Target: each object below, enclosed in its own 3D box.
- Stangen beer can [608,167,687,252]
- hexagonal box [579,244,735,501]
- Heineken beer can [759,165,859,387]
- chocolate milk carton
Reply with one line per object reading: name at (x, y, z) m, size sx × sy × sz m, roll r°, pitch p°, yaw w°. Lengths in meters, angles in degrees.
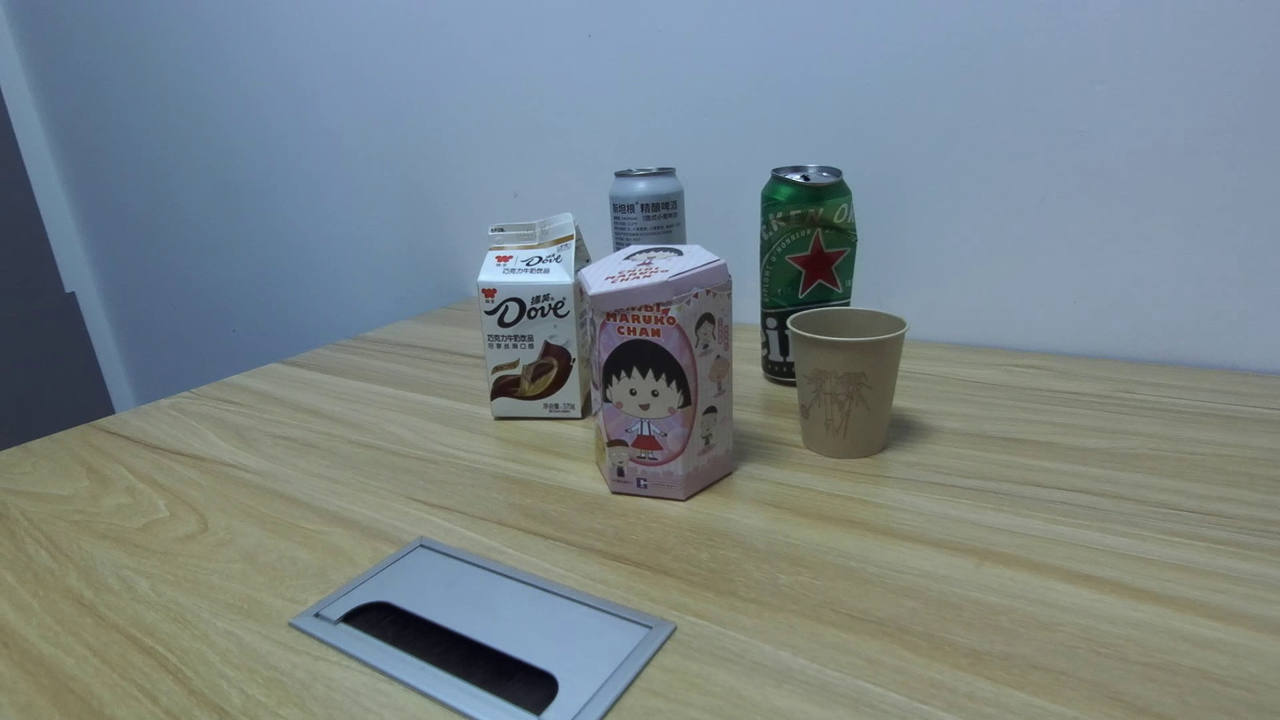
Stangen beer can at (0.010, -0.086, 0.639) m, size 0.067 × 0.171 × 0.067 m, roll -4°, pitch 17°, yaw 1°
hexagonal box at (0.012, 0.005, 0.427) m, size 0.092 × 0.135 × 0.085 m, roll 3°, pitch 20°, yaw 19°
Heineken beer can at (0.130, -0.064, 0.557) m, size 0.068 × 0.168 × 0.069 m, roll 9°, pitch 23°, yaw 28°
chocolate milk carton at (-0.074, -0.035, 0.544) m, size 0.075 × 0.148 × 0.074 m, roll 0°, pitch 18°, yaw 11°
